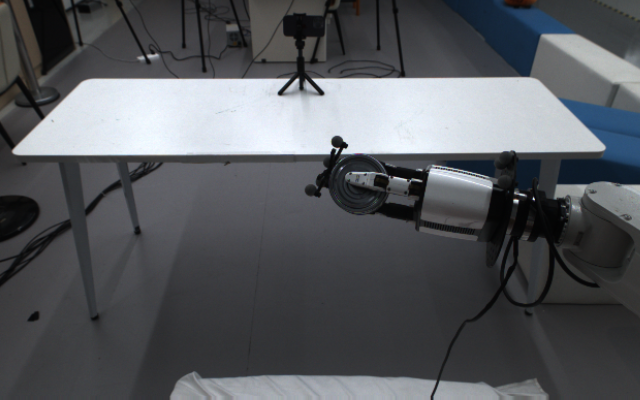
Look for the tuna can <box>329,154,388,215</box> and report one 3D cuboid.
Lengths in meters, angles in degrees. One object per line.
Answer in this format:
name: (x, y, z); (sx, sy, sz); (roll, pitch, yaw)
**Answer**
tuna can: (0.058, -0.023, 0.688); (0.085, 0.085, 0.034); (9, -5, 10)
